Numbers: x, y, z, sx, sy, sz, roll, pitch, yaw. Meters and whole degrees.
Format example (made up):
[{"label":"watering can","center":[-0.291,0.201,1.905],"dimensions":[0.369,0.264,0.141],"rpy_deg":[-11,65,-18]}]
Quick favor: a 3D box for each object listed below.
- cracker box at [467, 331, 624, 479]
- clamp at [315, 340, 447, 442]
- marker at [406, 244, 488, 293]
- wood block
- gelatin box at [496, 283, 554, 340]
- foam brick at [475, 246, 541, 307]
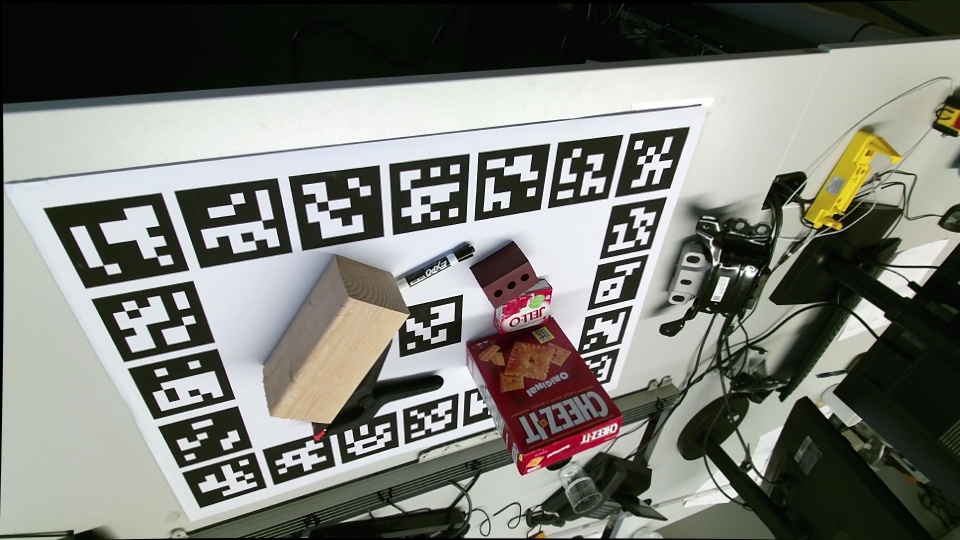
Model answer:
[{"label":"cracker box","center":[0.092,0.203,0.829],"dimensions":[0.165,0.213,0.072],"rpy_deg":[-14,129,-17]},{"label":"clamp","center":[-0.166,0.201,0.816],"dimensions":[0.203,0.036,0.166],"rpy_deg":[-36,131,-1]},{"label":"marker","center":[-0.044,-0.003,0.742],"dimensions":[0.121,0.019,0.020],"rpy_deg":[-27,129,-8]},{"label":"wood block","center":[-0.185,0.097,0.700],"dimensions":[0.090,0.090,0.206],"rpy_deg":[23,113,-40]},{"label":"gelatin box","center":[0.071,0.066,0.851],"dimensions":[0.090,0.030,0.073],"rpy_deg":[-12,126,-20]},{"label":"foam brick","center":[0.043,0.013,0.780],"dimensions":[0.078,0.051,0.053],"rpy_deg":[-31,130,-5]}]
